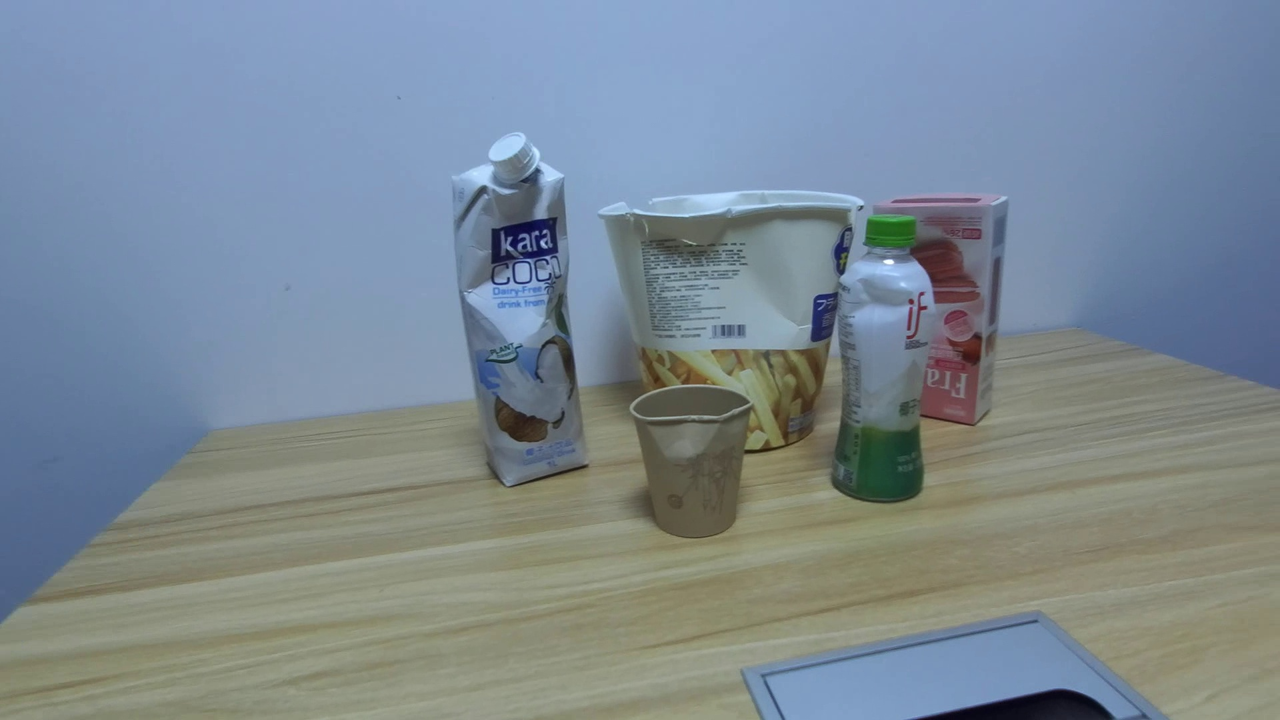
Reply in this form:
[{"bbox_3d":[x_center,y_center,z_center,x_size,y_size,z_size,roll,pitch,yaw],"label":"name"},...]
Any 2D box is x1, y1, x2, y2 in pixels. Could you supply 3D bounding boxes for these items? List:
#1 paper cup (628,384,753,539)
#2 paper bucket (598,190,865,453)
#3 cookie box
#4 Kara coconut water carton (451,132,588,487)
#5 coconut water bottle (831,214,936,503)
[{"bbox_3d":[0.034,0.066,0.464,0.068,0.081,0.074,11,21,41],"label":"paper cup"},{"bbox_3d":[0.075,-0.040,0.607,0.203,0.197,0.145,-3,17,0],"label":"paper bucket"},{"bbox_3d":[0.249,-0.044,0.611,0.104,0.187,0.049,9,20,38],"label":"cookie box"},{"bbox_3d":[-0.092,-0.037,0.537,0.083,0.255,0.078,-7,19,-13],"label":"Kara coconut water carton"},{"bbox_3d":[0.166,-0.001,0.479,0.069,0.186,0.069,-1,16,1],"label":"coconut water bottle"}]
